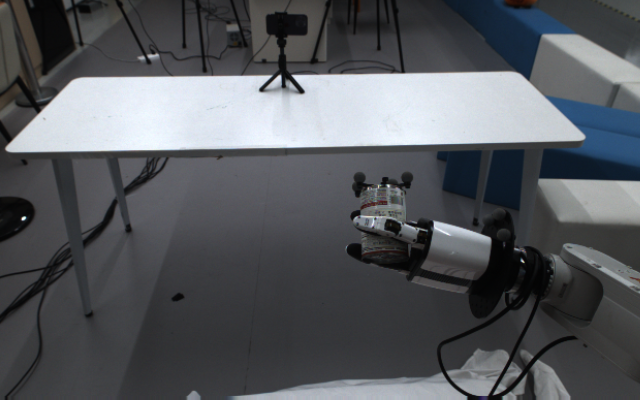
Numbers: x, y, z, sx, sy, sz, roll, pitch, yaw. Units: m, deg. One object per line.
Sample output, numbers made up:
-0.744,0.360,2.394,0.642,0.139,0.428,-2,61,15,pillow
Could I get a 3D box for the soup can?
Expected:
0.092,0.036,0.696,0.067,0.067,0.101,1,73,-2,soup can
